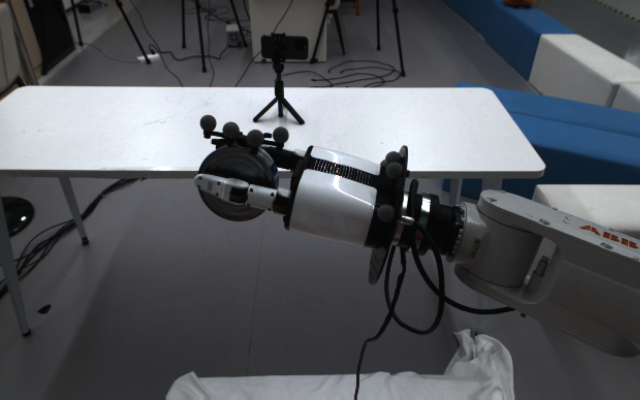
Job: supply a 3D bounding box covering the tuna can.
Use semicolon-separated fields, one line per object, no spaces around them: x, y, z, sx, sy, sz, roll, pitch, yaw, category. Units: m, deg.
-0.088;-0.022;0.539;0.085;0.085;0.034;5;18;4;tuna can
